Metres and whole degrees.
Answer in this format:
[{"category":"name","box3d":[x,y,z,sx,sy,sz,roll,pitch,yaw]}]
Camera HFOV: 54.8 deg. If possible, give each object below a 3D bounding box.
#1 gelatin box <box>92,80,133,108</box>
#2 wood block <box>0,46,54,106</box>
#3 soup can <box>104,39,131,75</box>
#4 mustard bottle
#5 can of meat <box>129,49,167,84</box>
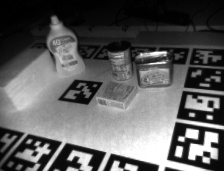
[{"category":"gelatin box","box3d":[0.000,0.017,0.586,0.088,0.030,0.073,13,47,32]},{"category":"wood block","box3d":[-0.287,-0.039,0.690,0.090,0.090,0.207,9,39,23]},{"category":"soup can","box3d":[0.018,-0.090,0.647,0.067,0.103,0.067,-8,40,8]},{"category":"mustard bottle","box3d":[-0.167,-0.131,0.695,0.096,0.193,0.058,-10,38,2]},{"category":"can of meat","box3d":[0.101,-0.052,0.607,0.101,0.084,0.057,-1,41,10]}]
